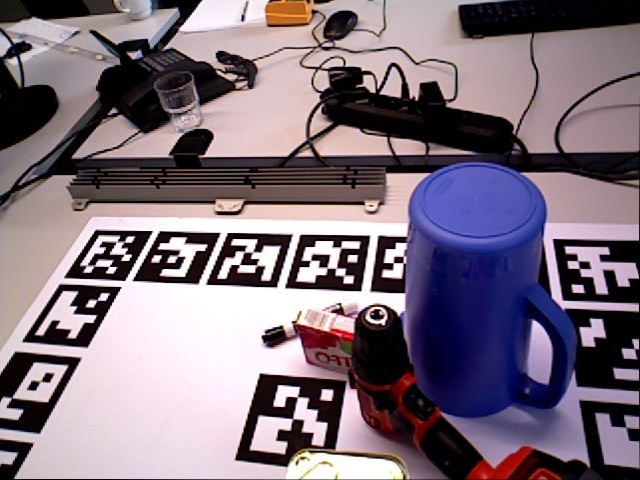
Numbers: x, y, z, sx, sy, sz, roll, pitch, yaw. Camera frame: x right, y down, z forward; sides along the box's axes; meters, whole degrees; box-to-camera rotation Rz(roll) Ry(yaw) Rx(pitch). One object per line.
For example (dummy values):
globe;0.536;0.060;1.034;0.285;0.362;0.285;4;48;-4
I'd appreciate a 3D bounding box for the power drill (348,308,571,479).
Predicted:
power drill;0.102;0.146;0.451;0.187;0.188;0.056;35;63;29

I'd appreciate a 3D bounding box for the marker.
marker;-0.009;0.089;0.643;0.120;0.020;0.019;-18;46;-4

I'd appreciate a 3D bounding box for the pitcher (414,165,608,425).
pitcher;0.163;0.057;0.491;0.189;0.246;0.131;25;58;39

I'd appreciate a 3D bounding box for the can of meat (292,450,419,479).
can of meat;0.032;0.223;0.458;0.102;0.085;0.056;1;44;12

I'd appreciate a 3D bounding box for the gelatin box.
gelatin box;0.032;0.112;0.578;0.090;0.074;0.029;11;53;19
